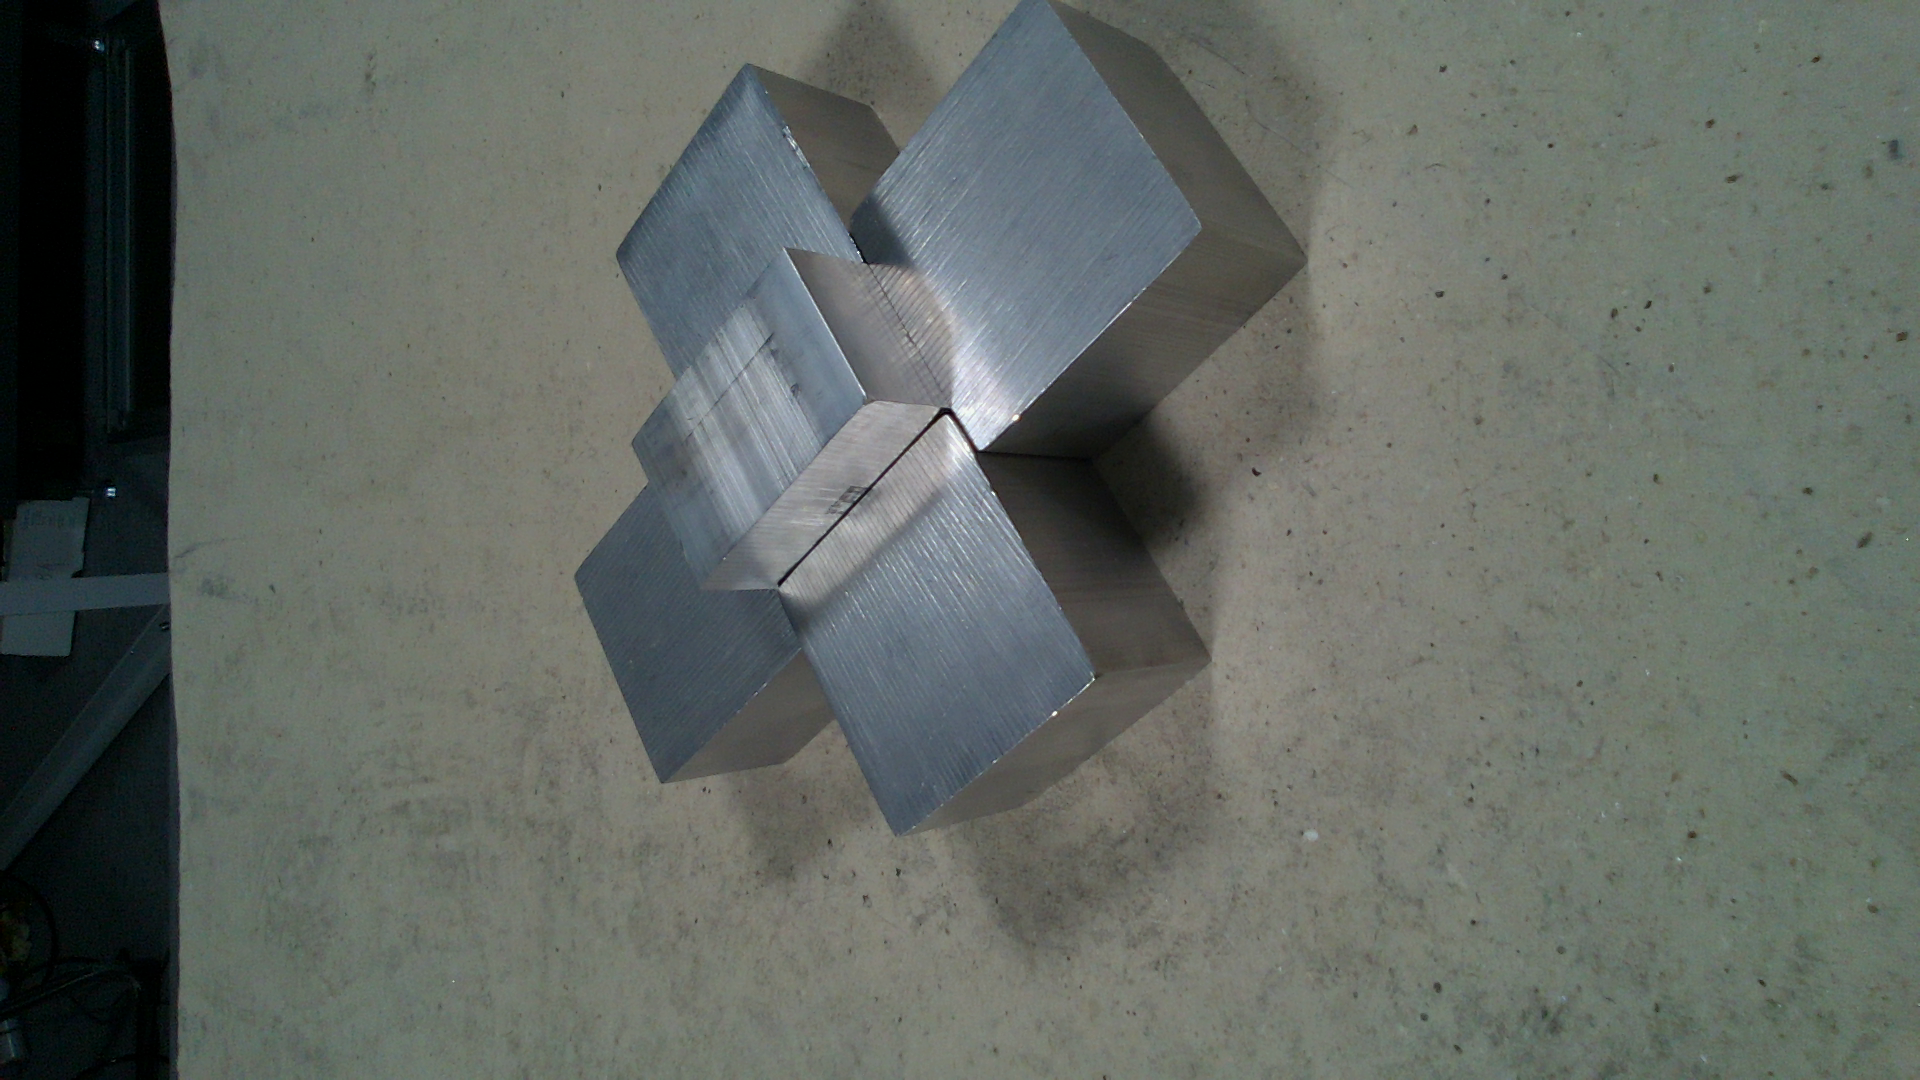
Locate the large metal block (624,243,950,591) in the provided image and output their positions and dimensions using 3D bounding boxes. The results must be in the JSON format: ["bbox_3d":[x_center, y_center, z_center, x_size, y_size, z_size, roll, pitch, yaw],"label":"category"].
[{"bbox_3d":[-0.033,-0.030,0.386,0.080,0.080,0.050,-44,63,31],"label":"large metal block"}]

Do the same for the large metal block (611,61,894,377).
[{"bbox_3d":[-0.052,-0.083,0.422,0.080,0.050,0.080,-44,63,31],"label":"large metal block"}]

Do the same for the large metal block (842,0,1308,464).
[{"bbox_3d":[0.027,-0.077,0.355,0.080,0.050,0.080,-44,63,31],"label":"large metal block"}]

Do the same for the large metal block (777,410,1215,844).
[{"bbox_3d":[0.007,0.023,0.372,0.080,0.050,0.080,-44,63,31],"label":"large metal block"}]

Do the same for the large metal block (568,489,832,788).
[{"bbox_3d":[-0.070,0.020,0.437,0.080,0.050,0.080,-44,63,31],"label":"large metal block"}]
